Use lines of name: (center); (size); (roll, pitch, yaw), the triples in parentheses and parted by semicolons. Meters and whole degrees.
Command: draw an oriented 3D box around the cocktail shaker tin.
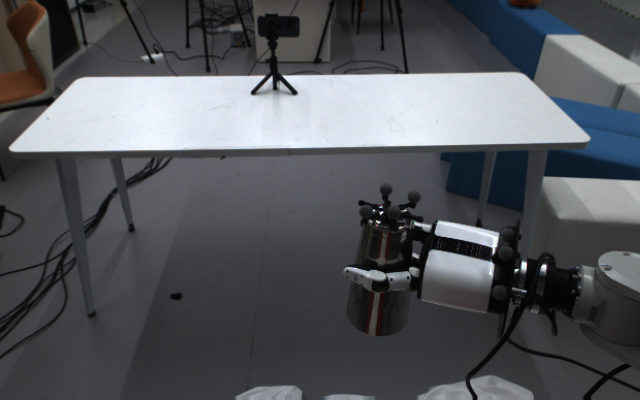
cocktail shaker tin: (0.091, 0.094, 0.678); (0.093, 0.170, 0.093); (2, 30, -1)
